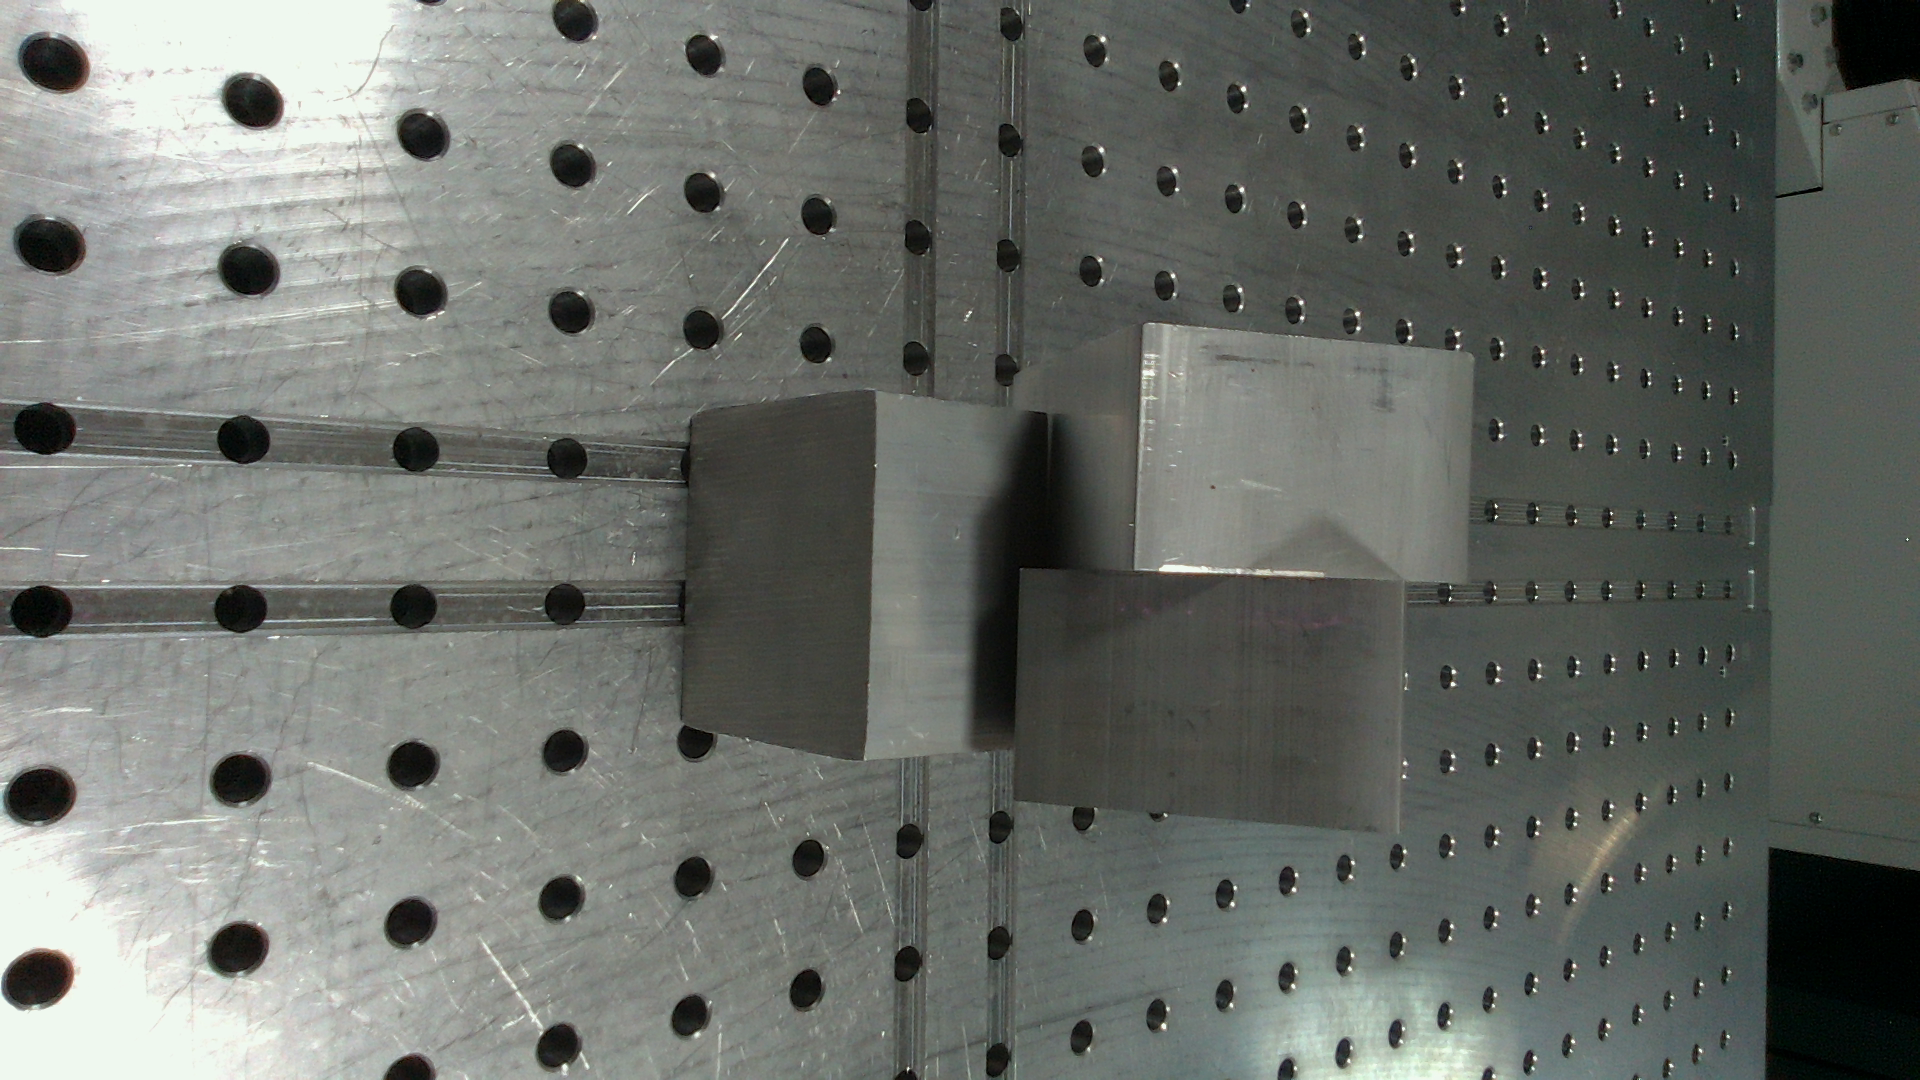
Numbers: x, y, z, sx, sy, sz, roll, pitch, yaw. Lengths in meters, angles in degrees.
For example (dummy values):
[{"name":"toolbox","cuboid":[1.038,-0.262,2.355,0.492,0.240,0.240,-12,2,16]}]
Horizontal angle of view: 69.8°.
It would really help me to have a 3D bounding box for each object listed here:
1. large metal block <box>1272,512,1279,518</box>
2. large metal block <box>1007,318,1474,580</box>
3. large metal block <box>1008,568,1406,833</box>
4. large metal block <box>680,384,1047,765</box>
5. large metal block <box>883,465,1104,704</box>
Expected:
[{"name":"large metal block","cuboid":[0.076,0.010,0.419,0.050,0.080,0.080,5,87,-40]},{"name":"large metal block","cuboid":[0.061,-0.017,0.325,0.080,0.080,0.050,2,88,-17]},{"name":"large metal block","cuboid":[0.061,0.033,0.321,0.080,0.080,0.050,9,83,-73]},{"name":"large metal block","cuboid":[-0.025,0.008,0.335,0.050,0.080,0.080,2,88,-40]},{"name":"large metal block","cuboid":[0.018,0.008,0.388,0.080,0.050,0.080,3,88,-40]}]
